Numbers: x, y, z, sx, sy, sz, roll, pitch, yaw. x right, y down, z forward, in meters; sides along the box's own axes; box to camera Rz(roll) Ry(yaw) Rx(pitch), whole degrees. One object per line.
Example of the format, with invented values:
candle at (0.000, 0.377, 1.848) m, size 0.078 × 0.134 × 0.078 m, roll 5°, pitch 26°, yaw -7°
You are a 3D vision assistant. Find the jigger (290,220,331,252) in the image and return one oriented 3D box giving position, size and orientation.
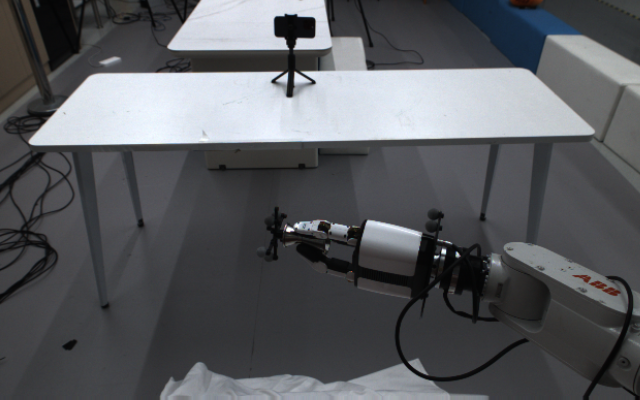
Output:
jigger at (-0.014, 0.055, 0.753) m, size 0.071 × 0.043 × 0.043 m, roll 6°, pitch 35°, yaw 11°
